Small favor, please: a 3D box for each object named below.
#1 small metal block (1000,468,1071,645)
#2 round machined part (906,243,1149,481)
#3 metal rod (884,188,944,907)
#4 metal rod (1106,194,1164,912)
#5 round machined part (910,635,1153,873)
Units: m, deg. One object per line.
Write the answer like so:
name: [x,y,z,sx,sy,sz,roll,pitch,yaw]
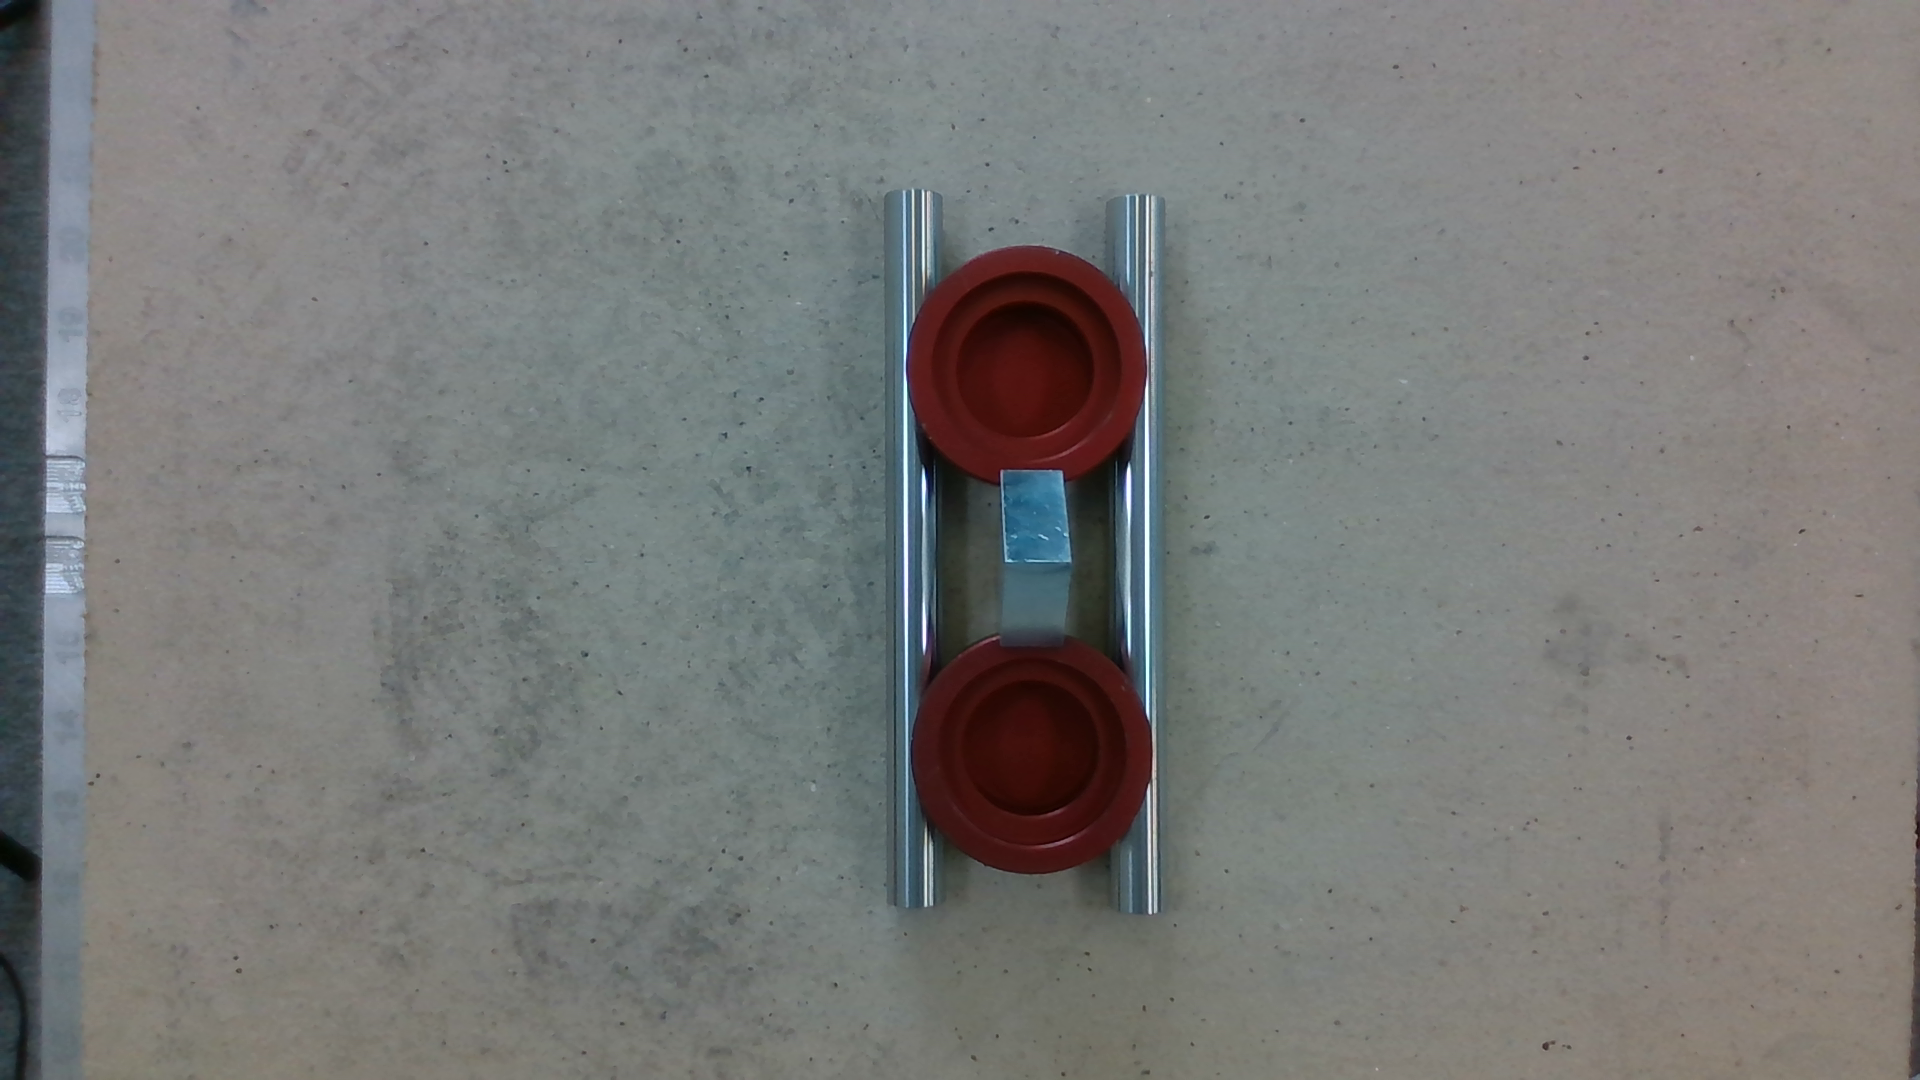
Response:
small metal block: [0.028,0.007,0.549,0.025,0.050,0.050,0,47,-1]
round machined part: [0.027,-0.071,0.574,0.098,0.042,0.098,0,91,0]
metal rod: [-0.020,0.003,0.587,0.025,0.025,0.300,0,91,0]
metal rod: [0.075,0.006,0.587,0.025,0.025,0.300,0,91,0]
round machined part: [0.029,0.085,0.575,0.098,0.042,0.098,0,91,0]
